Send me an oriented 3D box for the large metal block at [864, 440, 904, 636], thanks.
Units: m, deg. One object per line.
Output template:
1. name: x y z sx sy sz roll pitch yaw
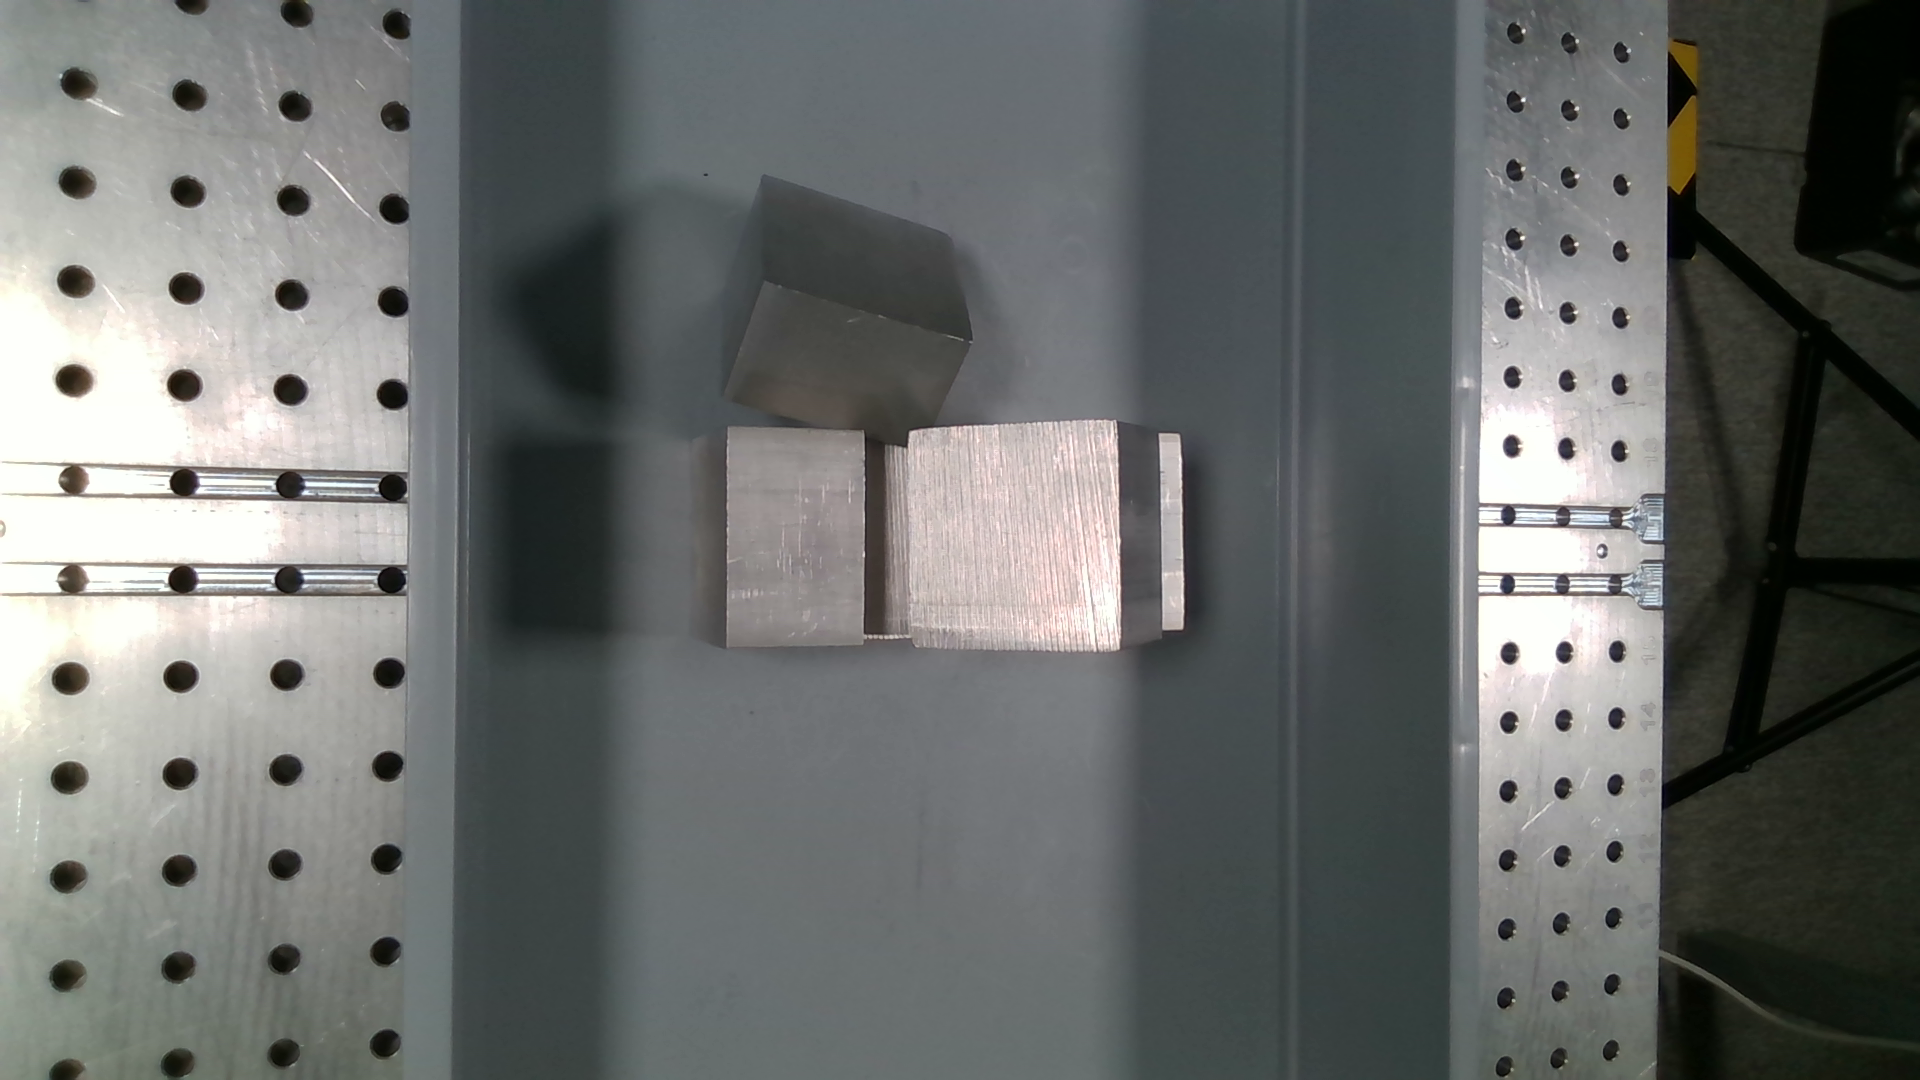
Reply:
1. large metal block: -0.016 -0.003 0.567 0.080 0.050 0.080 -1 90 -20

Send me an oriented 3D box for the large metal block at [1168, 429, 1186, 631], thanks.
1. large metal block: 0.052 -0.003 0.574 0.050 0.080 0.080 -1 91 -20

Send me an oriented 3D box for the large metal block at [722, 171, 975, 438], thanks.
1. large metal block: -0.045 -0.089 0.530 0.080 0.080 0.050 13 128 -19

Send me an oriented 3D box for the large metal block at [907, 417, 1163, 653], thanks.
1. large metal block: 0.028 -0.001 0.506 0.050 0.080 0.080 -2 91 -65

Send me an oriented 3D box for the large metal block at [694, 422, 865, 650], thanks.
1. large metal block: -0.072 -0.001 0.528 0.050 0.080 0.080 0 90 -20
